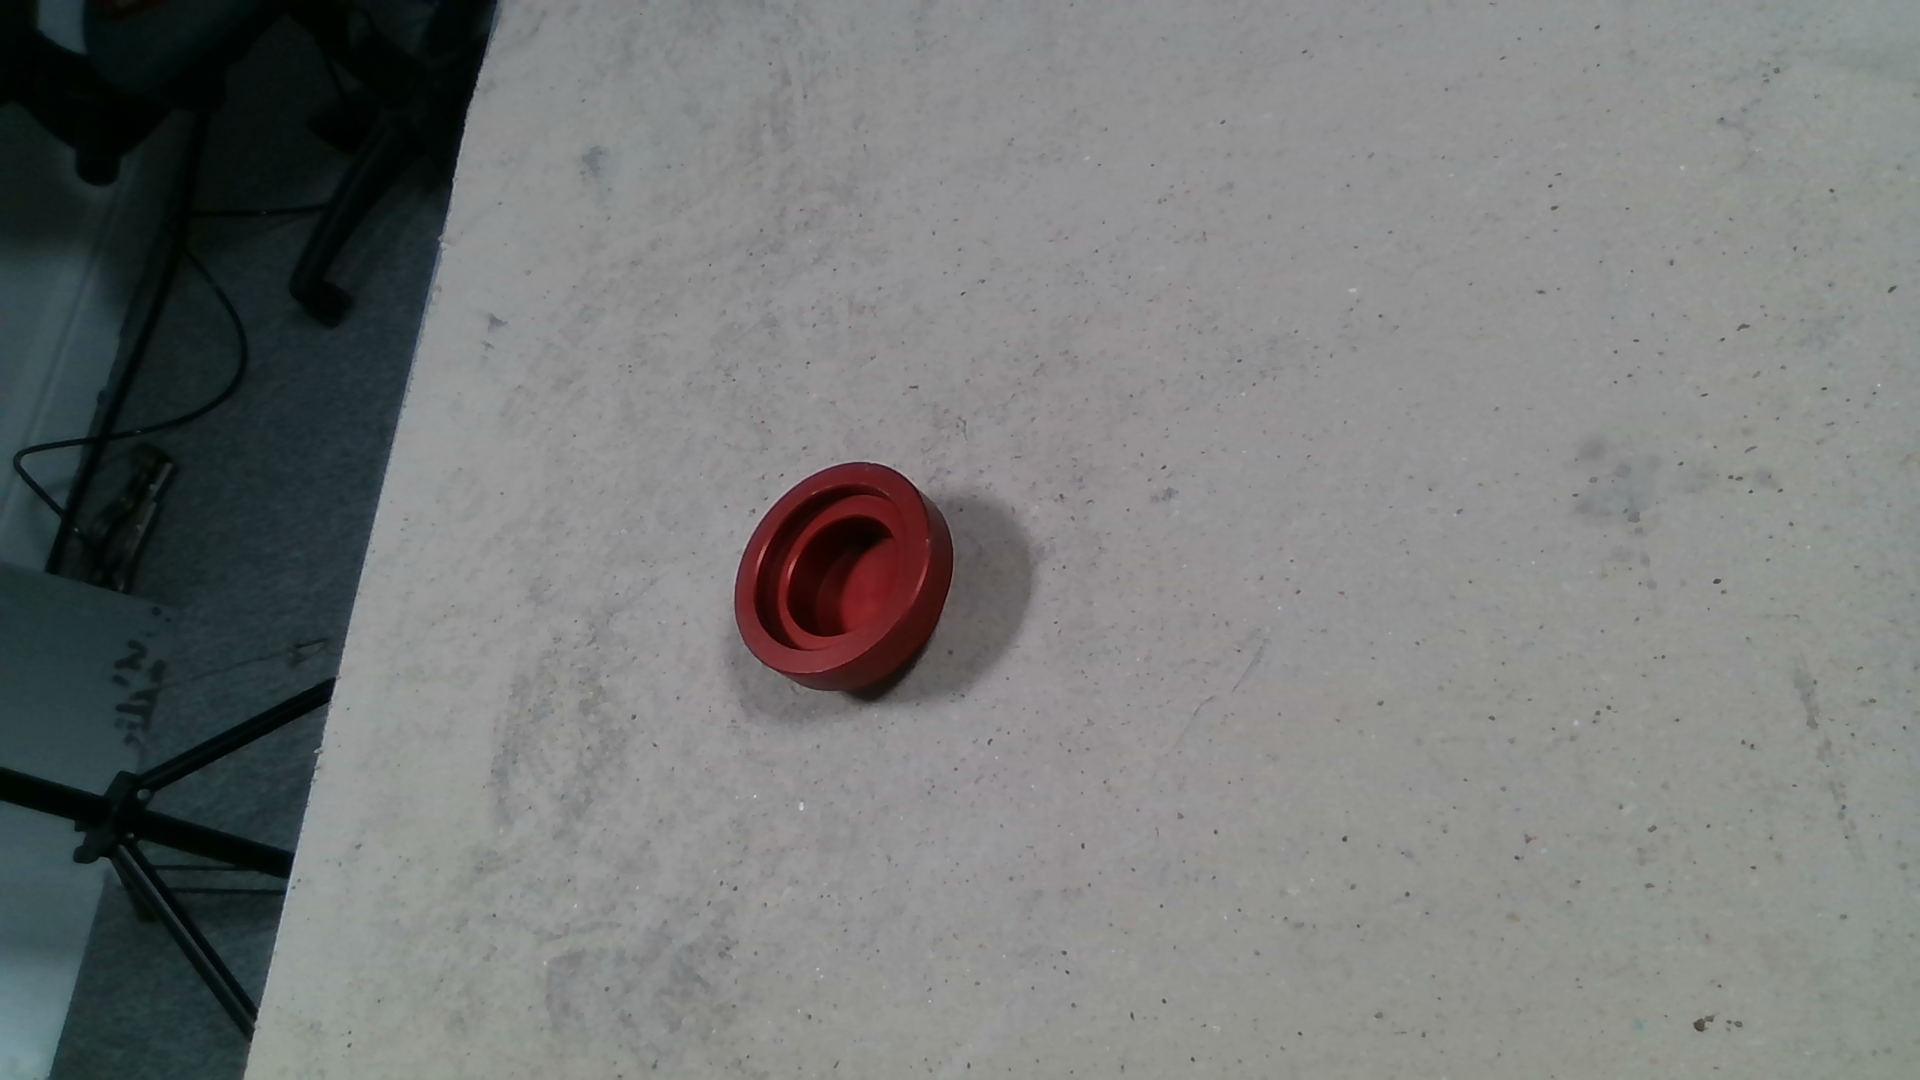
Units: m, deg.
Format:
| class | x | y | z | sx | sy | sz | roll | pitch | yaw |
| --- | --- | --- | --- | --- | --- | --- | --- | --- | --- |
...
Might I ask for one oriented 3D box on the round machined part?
| class | x | y | z | sx | sy | sz | roll | pitch | yaw |
| --- | --- | --- | --- | --- | --- | --- | --- | --- | --- |
| round machined part | -0.045 | 0.019 | 0.593 | 0.098 | 0.042 | 0.098 | -14 | 59 | 25 |
